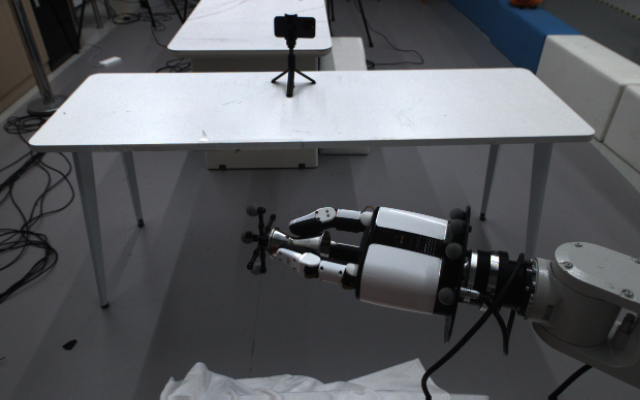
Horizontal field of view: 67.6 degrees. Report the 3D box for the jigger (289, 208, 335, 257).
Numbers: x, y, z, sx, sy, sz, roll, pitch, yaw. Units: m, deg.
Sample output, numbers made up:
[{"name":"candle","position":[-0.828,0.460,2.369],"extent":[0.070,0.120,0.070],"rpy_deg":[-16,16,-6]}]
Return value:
[{"name":"jigger","position":[-0.018,0.053,0.600],"extent":[0.071,0.043,0.043],"rpy_deg":[5,34,18]}]
